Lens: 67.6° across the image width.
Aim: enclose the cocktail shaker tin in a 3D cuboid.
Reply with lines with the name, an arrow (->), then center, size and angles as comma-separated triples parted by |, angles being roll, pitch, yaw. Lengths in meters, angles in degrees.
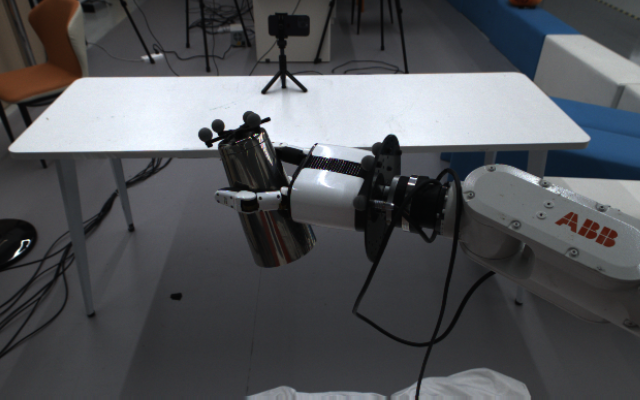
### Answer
cocktail shaker tin -> -0.074, -0.005, 0.649 | 0.093, 0.170, 0.093 | -17, 21, 7
